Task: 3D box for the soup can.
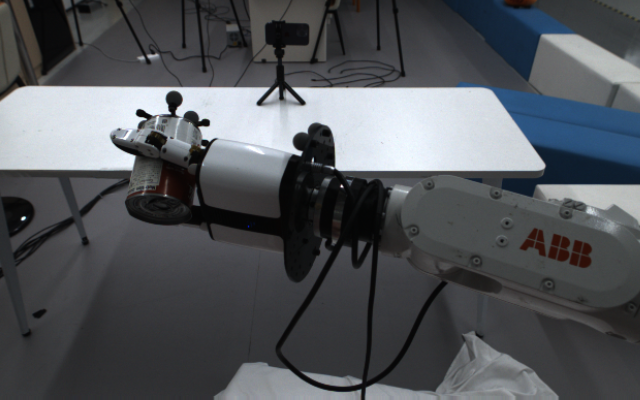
[{"bbox_3d":[-0.164,-0.033,0.524,0.067,0.067,0.101,0,61,-3],"label":"soup can"}]
